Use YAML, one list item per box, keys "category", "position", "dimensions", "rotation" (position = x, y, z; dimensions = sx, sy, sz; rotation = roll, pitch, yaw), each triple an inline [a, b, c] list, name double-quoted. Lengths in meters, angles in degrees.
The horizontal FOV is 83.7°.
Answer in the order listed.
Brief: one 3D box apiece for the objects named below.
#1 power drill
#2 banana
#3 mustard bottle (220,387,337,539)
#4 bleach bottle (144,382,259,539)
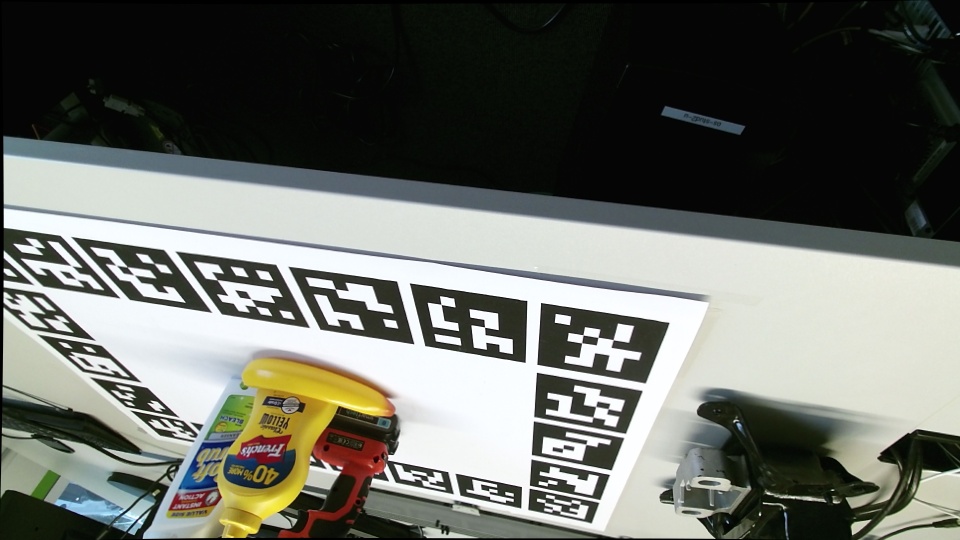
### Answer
- category: "power drill"
  position: [-0.204, 0.285, 0.634]
  dimensions: [0.185, 0.186, 0.057]
  rotation: [17, 139, 2]
- category: "banana"
  position: [-0.205, 0.138, 0.634]
  dimensions: [0.198, 0.038, 0.074]
  rotation: [9, 137, 4]
- category: "mustard bottle"
  position: [-0.242, 0.216, 0.602]
  dimensions: [0.096, 0.190, 0.058]
  rotation: [8, 138, 10]
- category: "bleach bottle"
  position: [-0.314, 0.264, 0.641]
  dimensions: [0.103, 0.249, 0.068]
  rotation: [9, 143, 8]
